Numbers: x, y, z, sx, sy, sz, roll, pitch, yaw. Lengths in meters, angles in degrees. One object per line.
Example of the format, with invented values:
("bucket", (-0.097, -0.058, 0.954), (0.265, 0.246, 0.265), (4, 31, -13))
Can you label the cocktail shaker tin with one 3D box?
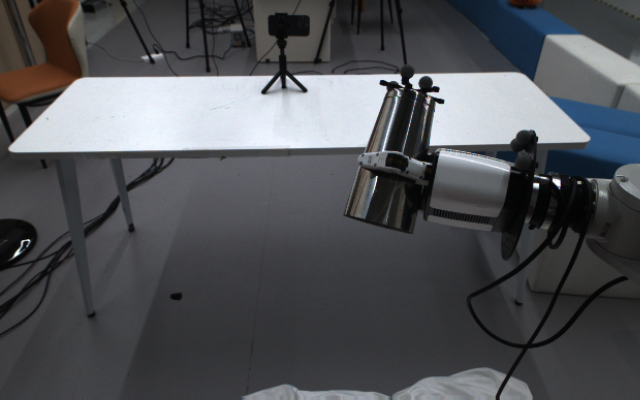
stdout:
("cocktail shaker tin", (0.096, -0.051, 0.621), (0.093, 0.170, 0.093), (16, -4, 1))
